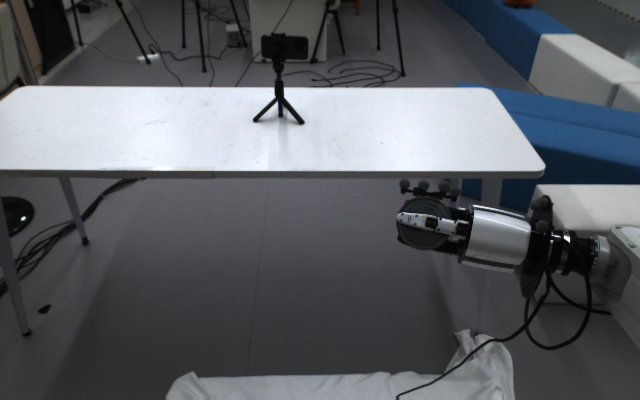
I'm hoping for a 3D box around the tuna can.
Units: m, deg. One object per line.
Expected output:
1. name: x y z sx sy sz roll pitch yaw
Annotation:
1. tuna can: 0.166 0.033 0.766 0.085 0.085 0.034 11 -7 12
